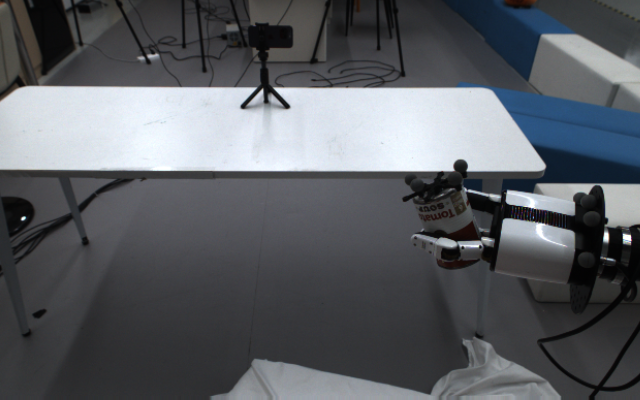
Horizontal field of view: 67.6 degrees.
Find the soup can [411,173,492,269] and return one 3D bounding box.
[{"bbox_3d":[0.171,0.029,0.637,0.067,0.101,0.067,-23,16,7],"label":"soup can"}]
